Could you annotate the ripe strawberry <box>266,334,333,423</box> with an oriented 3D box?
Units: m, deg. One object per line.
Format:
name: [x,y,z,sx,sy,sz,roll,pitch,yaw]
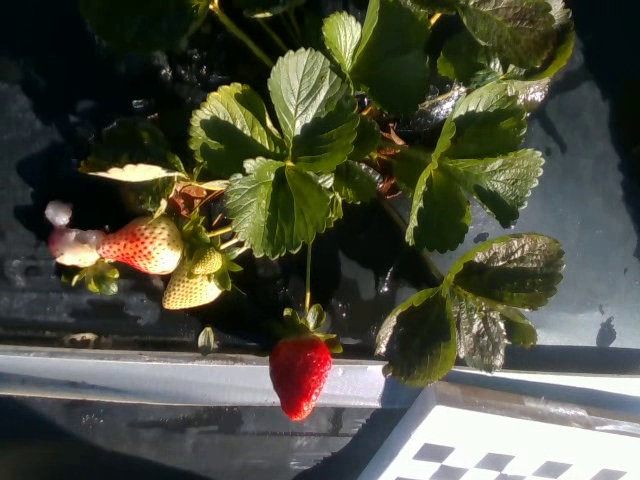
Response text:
ripe strawberry: [-0.011,0.069,0.305,0.036,0.046,0.038,13,-35,-9]
